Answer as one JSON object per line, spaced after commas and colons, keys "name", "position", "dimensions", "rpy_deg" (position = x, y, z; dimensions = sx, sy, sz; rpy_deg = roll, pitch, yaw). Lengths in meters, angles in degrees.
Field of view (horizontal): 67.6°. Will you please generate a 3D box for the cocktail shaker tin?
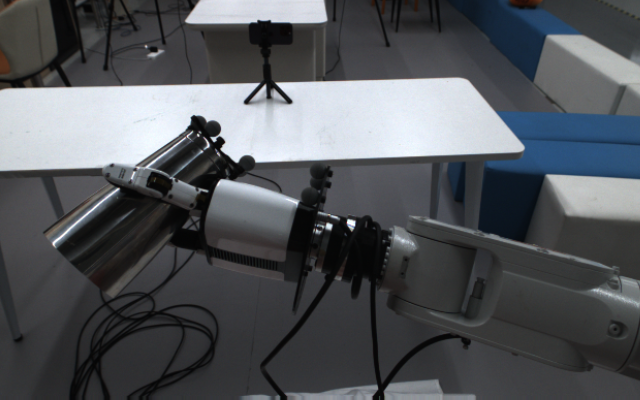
{"name": "cocktail shaker tin", "position": [-0.176, 0.003, 0.495], "dimensions": [0.093, 0.093, 0.170], "rpy_deg": [32, 65, 35]}
